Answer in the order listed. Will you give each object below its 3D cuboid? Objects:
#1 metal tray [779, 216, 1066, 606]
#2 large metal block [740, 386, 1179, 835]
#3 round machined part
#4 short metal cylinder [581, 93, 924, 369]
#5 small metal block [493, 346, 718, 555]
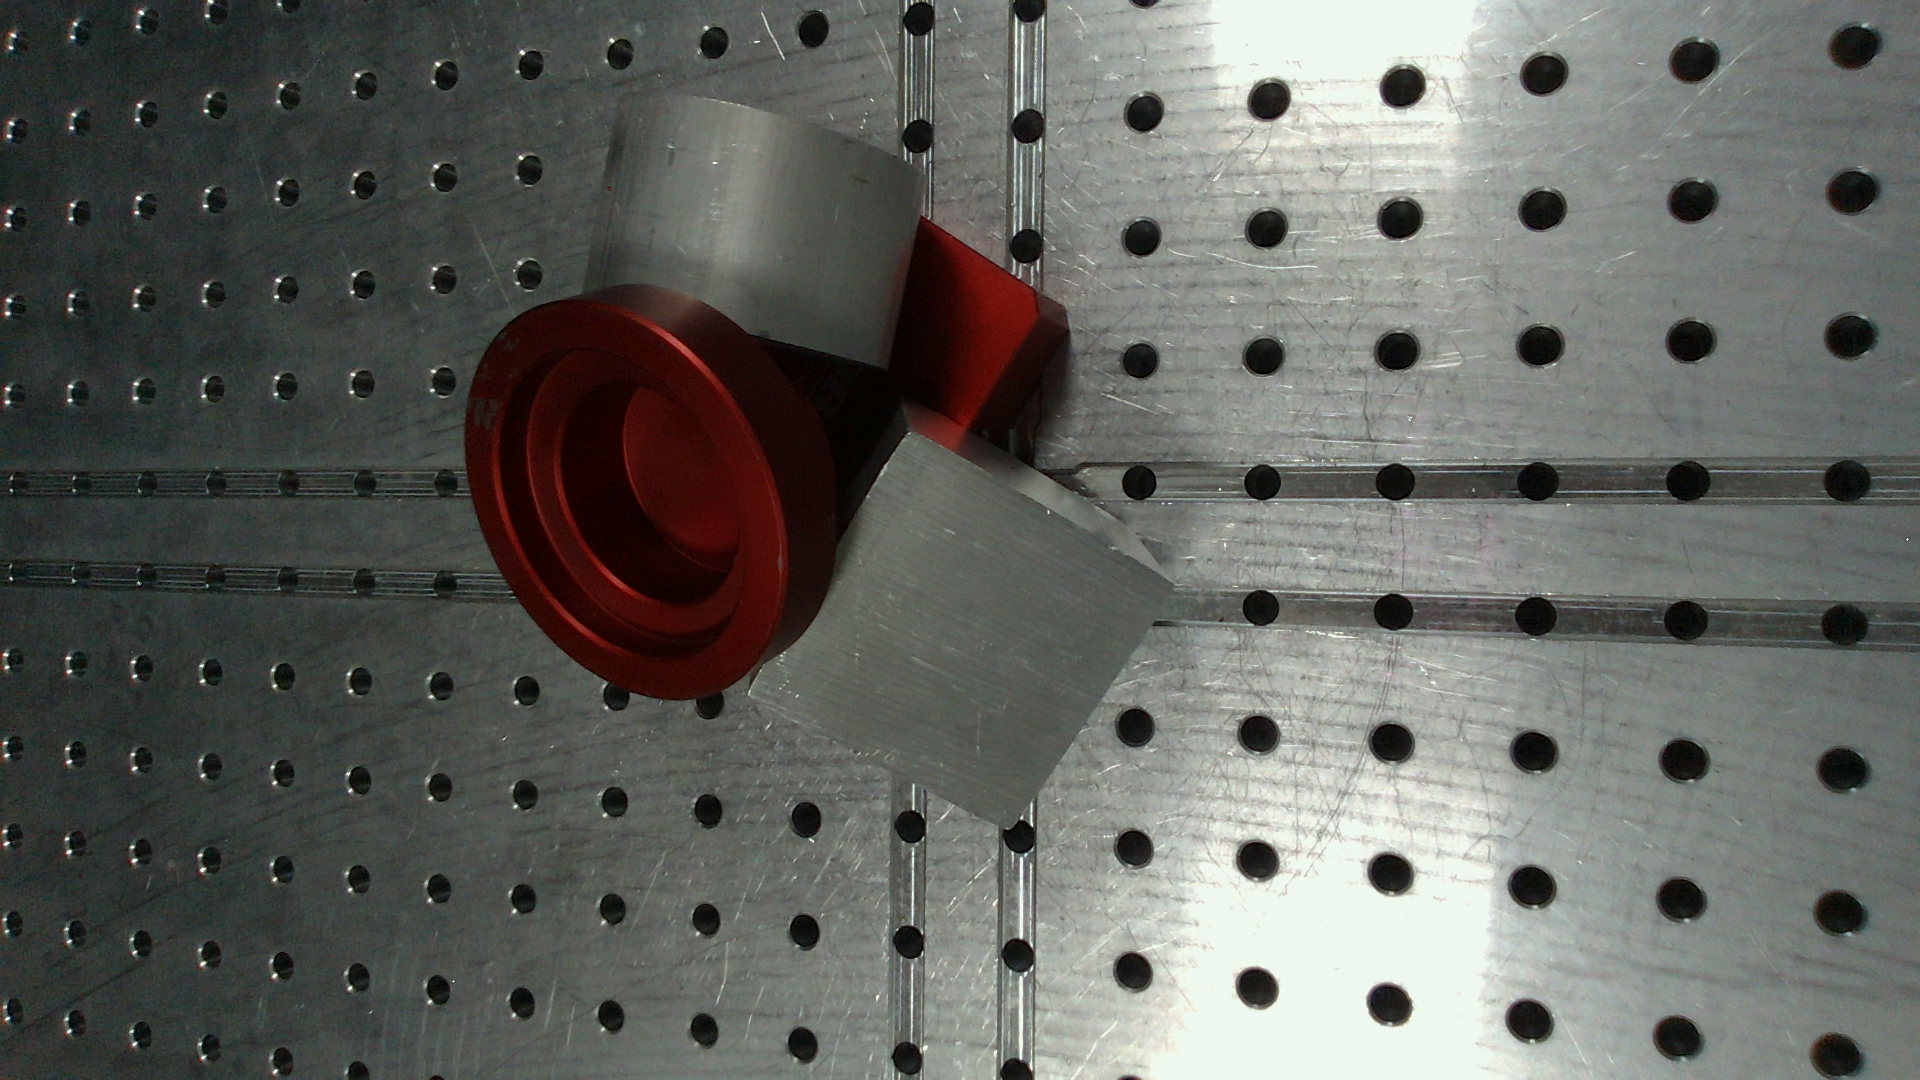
[{"bbox_3d":[-0.040,-0.038,0.411,0.090,0.030,0.130,36,102,16],"label":"metal tray"},{"bbox_3d":[-0.002,0.018,0.367,0.080,0.050,0.080,30,101,-14],"label":"large metal block"},{"bbox_3d":[-0.070,-0.014,0.335,0.098,0.042,0.098,12,116,27],"label":"round machined part"},{"bbox_3d":[-0.053,-0.078,0.356,0.080,0.080,0.050,14,95,19],"label":"short metal cylinder"},{"bbox_3d":[-0.098,-0.024,0.387,0.025,0.050,0.050,20,97,19],"label":"small metal block"}]
